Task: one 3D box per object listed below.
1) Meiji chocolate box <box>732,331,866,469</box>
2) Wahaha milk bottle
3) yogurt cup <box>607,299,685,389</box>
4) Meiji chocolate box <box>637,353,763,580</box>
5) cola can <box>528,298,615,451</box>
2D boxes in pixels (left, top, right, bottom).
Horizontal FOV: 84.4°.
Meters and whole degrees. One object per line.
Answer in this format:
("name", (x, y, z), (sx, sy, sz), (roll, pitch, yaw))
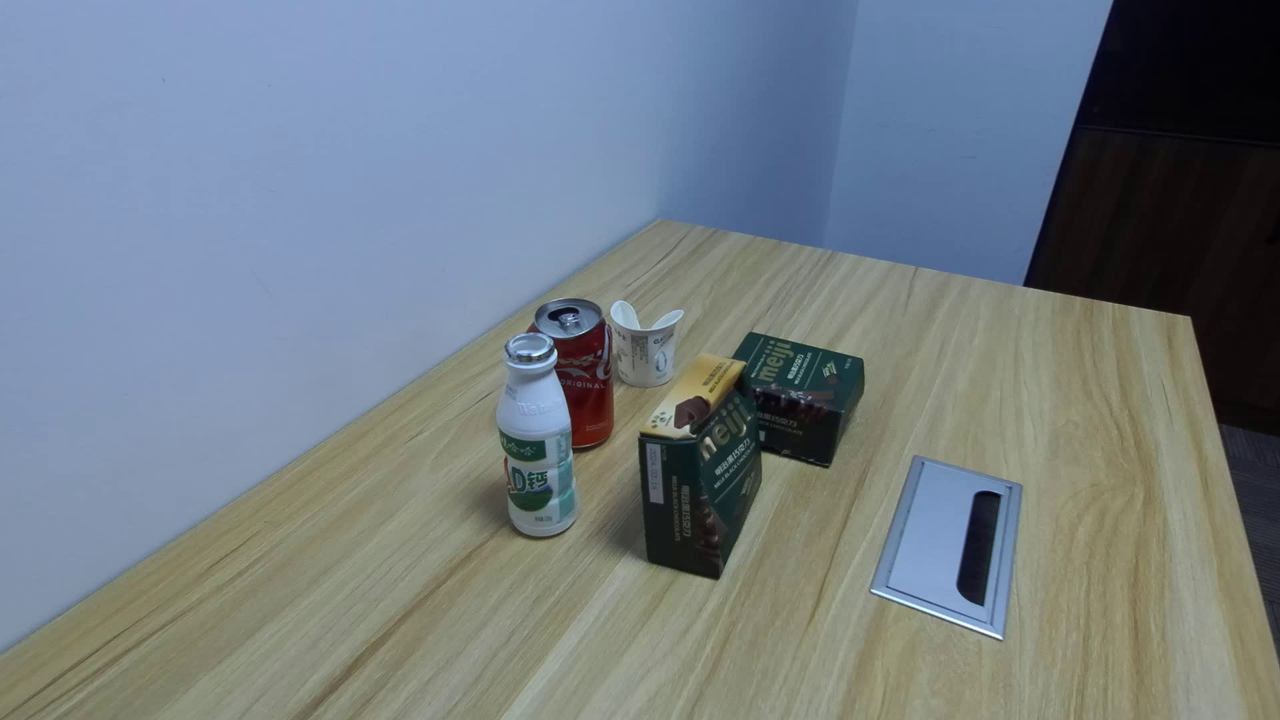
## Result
("Meiji chocolate box", (0.128, 0.030, 0.613), (0.122, 0.058, 0.116), (14, 31, 20))
("Wahaha milk bottle", (-0.069, 0.053, 0.484), (0.056, 0.148, 0.056), (-1, 29, 1))
("yogurt cup", (0.005, -0.013, 0.661), (0.067, 0.070, 0.067), (1, 31, -1))
("Meiji chocolate box", (0.045, 0.068, 0.491), (0.051, 0.117, 0.117), (5, 30, 24))
("cola can", (-0.052, 0.011, 0.584), (0.072, 0.117, 0.065), (12, 34, 18))
